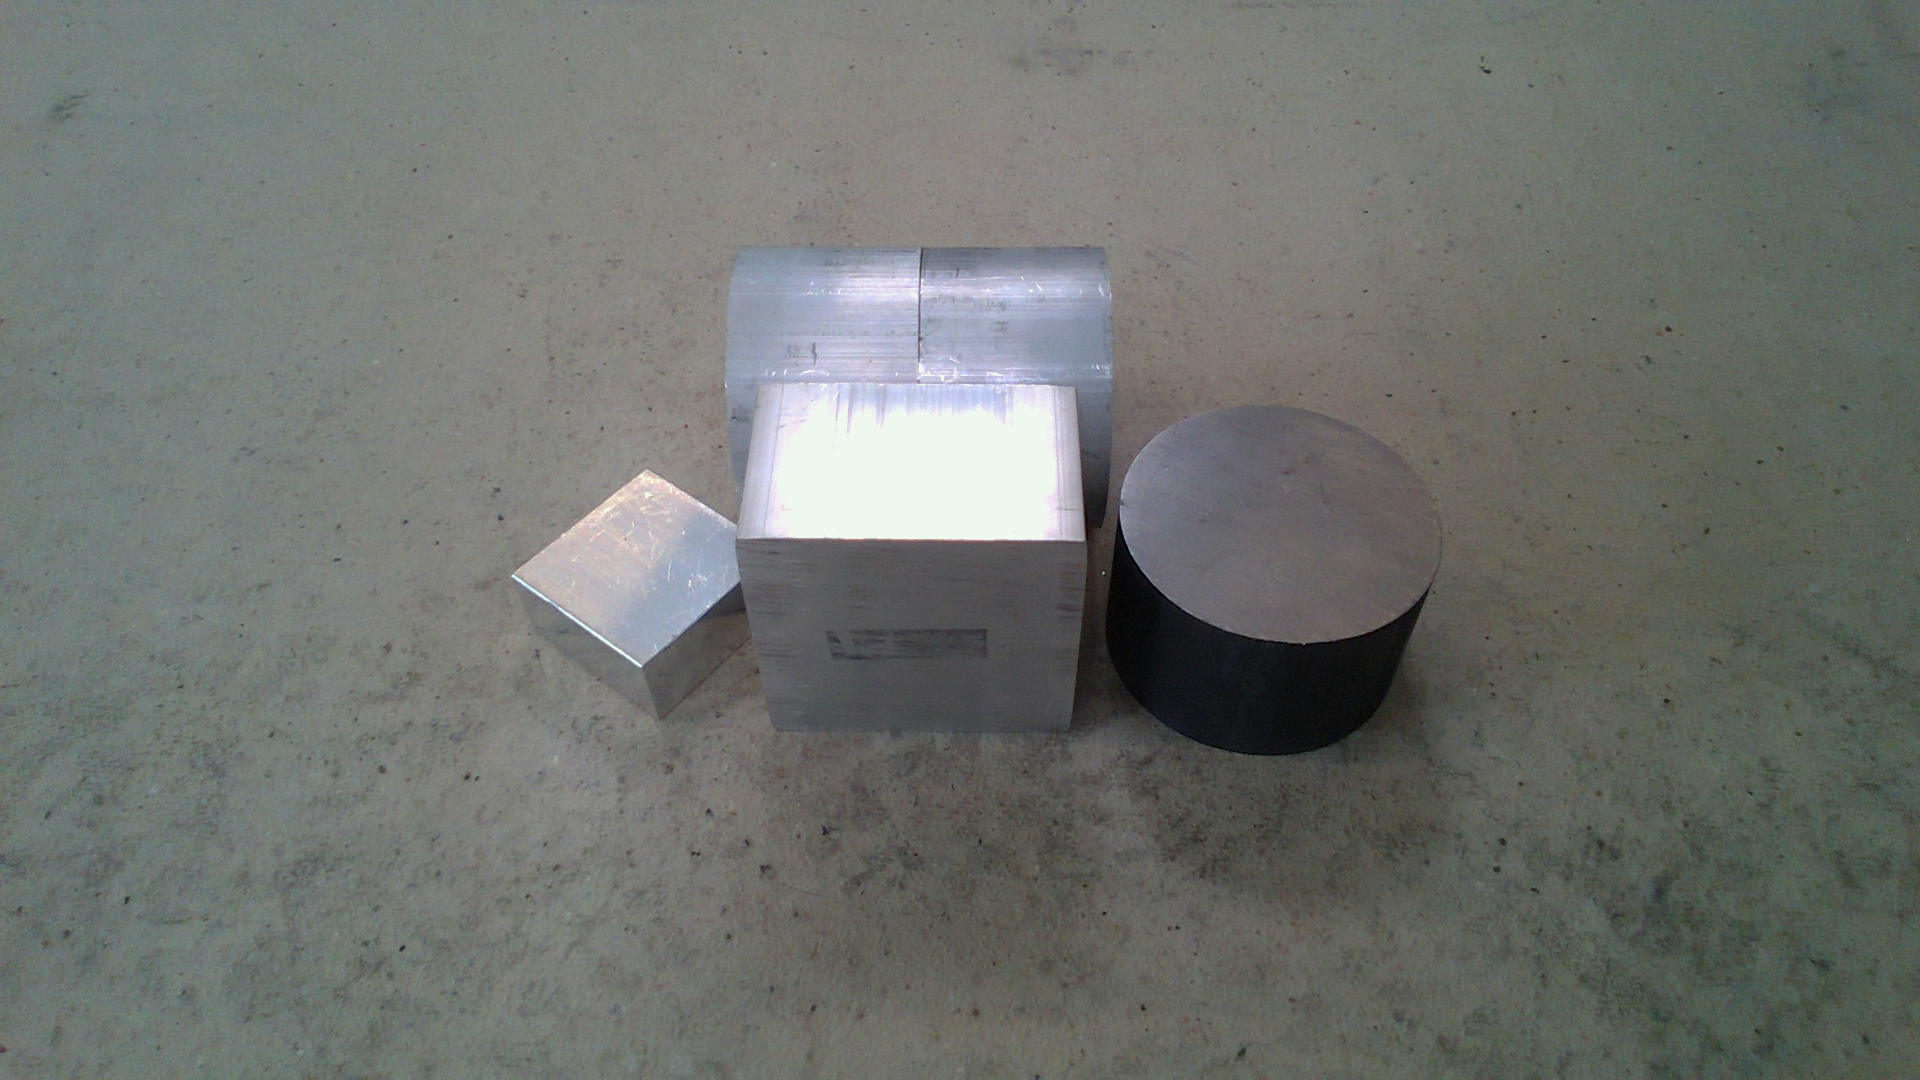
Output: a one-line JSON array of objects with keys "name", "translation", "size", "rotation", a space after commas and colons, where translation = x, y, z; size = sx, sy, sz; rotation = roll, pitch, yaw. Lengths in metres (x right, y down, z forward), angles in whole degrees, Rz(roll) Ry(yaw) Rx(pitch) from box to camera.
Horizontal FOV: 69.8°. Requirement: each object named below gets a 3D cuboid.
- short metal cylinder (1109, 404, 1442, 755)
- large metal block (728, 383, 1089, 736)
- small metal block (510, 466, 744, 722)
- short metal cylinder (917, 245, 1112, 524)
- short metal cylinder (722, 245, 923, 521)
[{"name": "short metal cylinder", "translation": [0.081, 0.010, 0.367], "size": [0.080, 0.050, 0.080], "rotation": [0, 50, 0]}, {"name": "large metal block", "translation": [-0.011, 0.007, 0.351], "size": [0.080, 0.080, 0.050], "rotation": [1, 50, 1]}, {"name": "small metal block", "translation": [-0.085, 0.014, 0.381], "size": [0.050, 0.025, 0.050], "rotation": [31, 56, 23]}, {"name": "short metal cylinder", "translation": [0.015, -0.044, 0.393], "size": [0.050, 0.080, 0.080], "rotation": [1, 50, 1]}, {"name": "short metal cylinder", "translation": [-0.035, -0.043, 0.393], "size": [0.050, 0.080, 0.080], "rotation": [1, 50, 1]}]
